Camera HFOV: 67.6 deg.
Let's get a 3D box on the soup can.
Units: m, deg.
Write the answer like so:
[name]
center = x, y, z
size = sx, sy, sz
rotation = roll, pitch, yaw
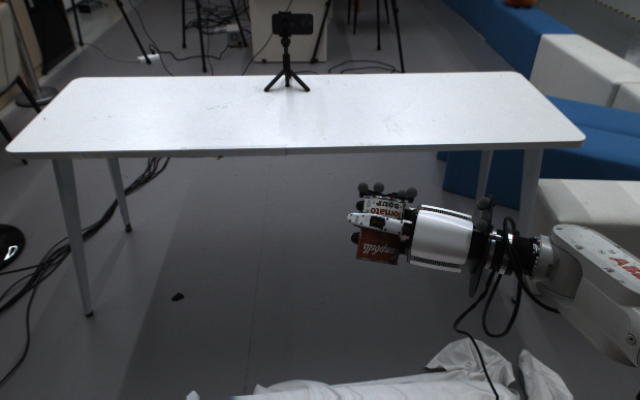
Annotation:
[soup can]
center = 0.097, 0.048, 0.769
size = 0.067, 0.101, 0.067
rotation = 9, -6, 1
